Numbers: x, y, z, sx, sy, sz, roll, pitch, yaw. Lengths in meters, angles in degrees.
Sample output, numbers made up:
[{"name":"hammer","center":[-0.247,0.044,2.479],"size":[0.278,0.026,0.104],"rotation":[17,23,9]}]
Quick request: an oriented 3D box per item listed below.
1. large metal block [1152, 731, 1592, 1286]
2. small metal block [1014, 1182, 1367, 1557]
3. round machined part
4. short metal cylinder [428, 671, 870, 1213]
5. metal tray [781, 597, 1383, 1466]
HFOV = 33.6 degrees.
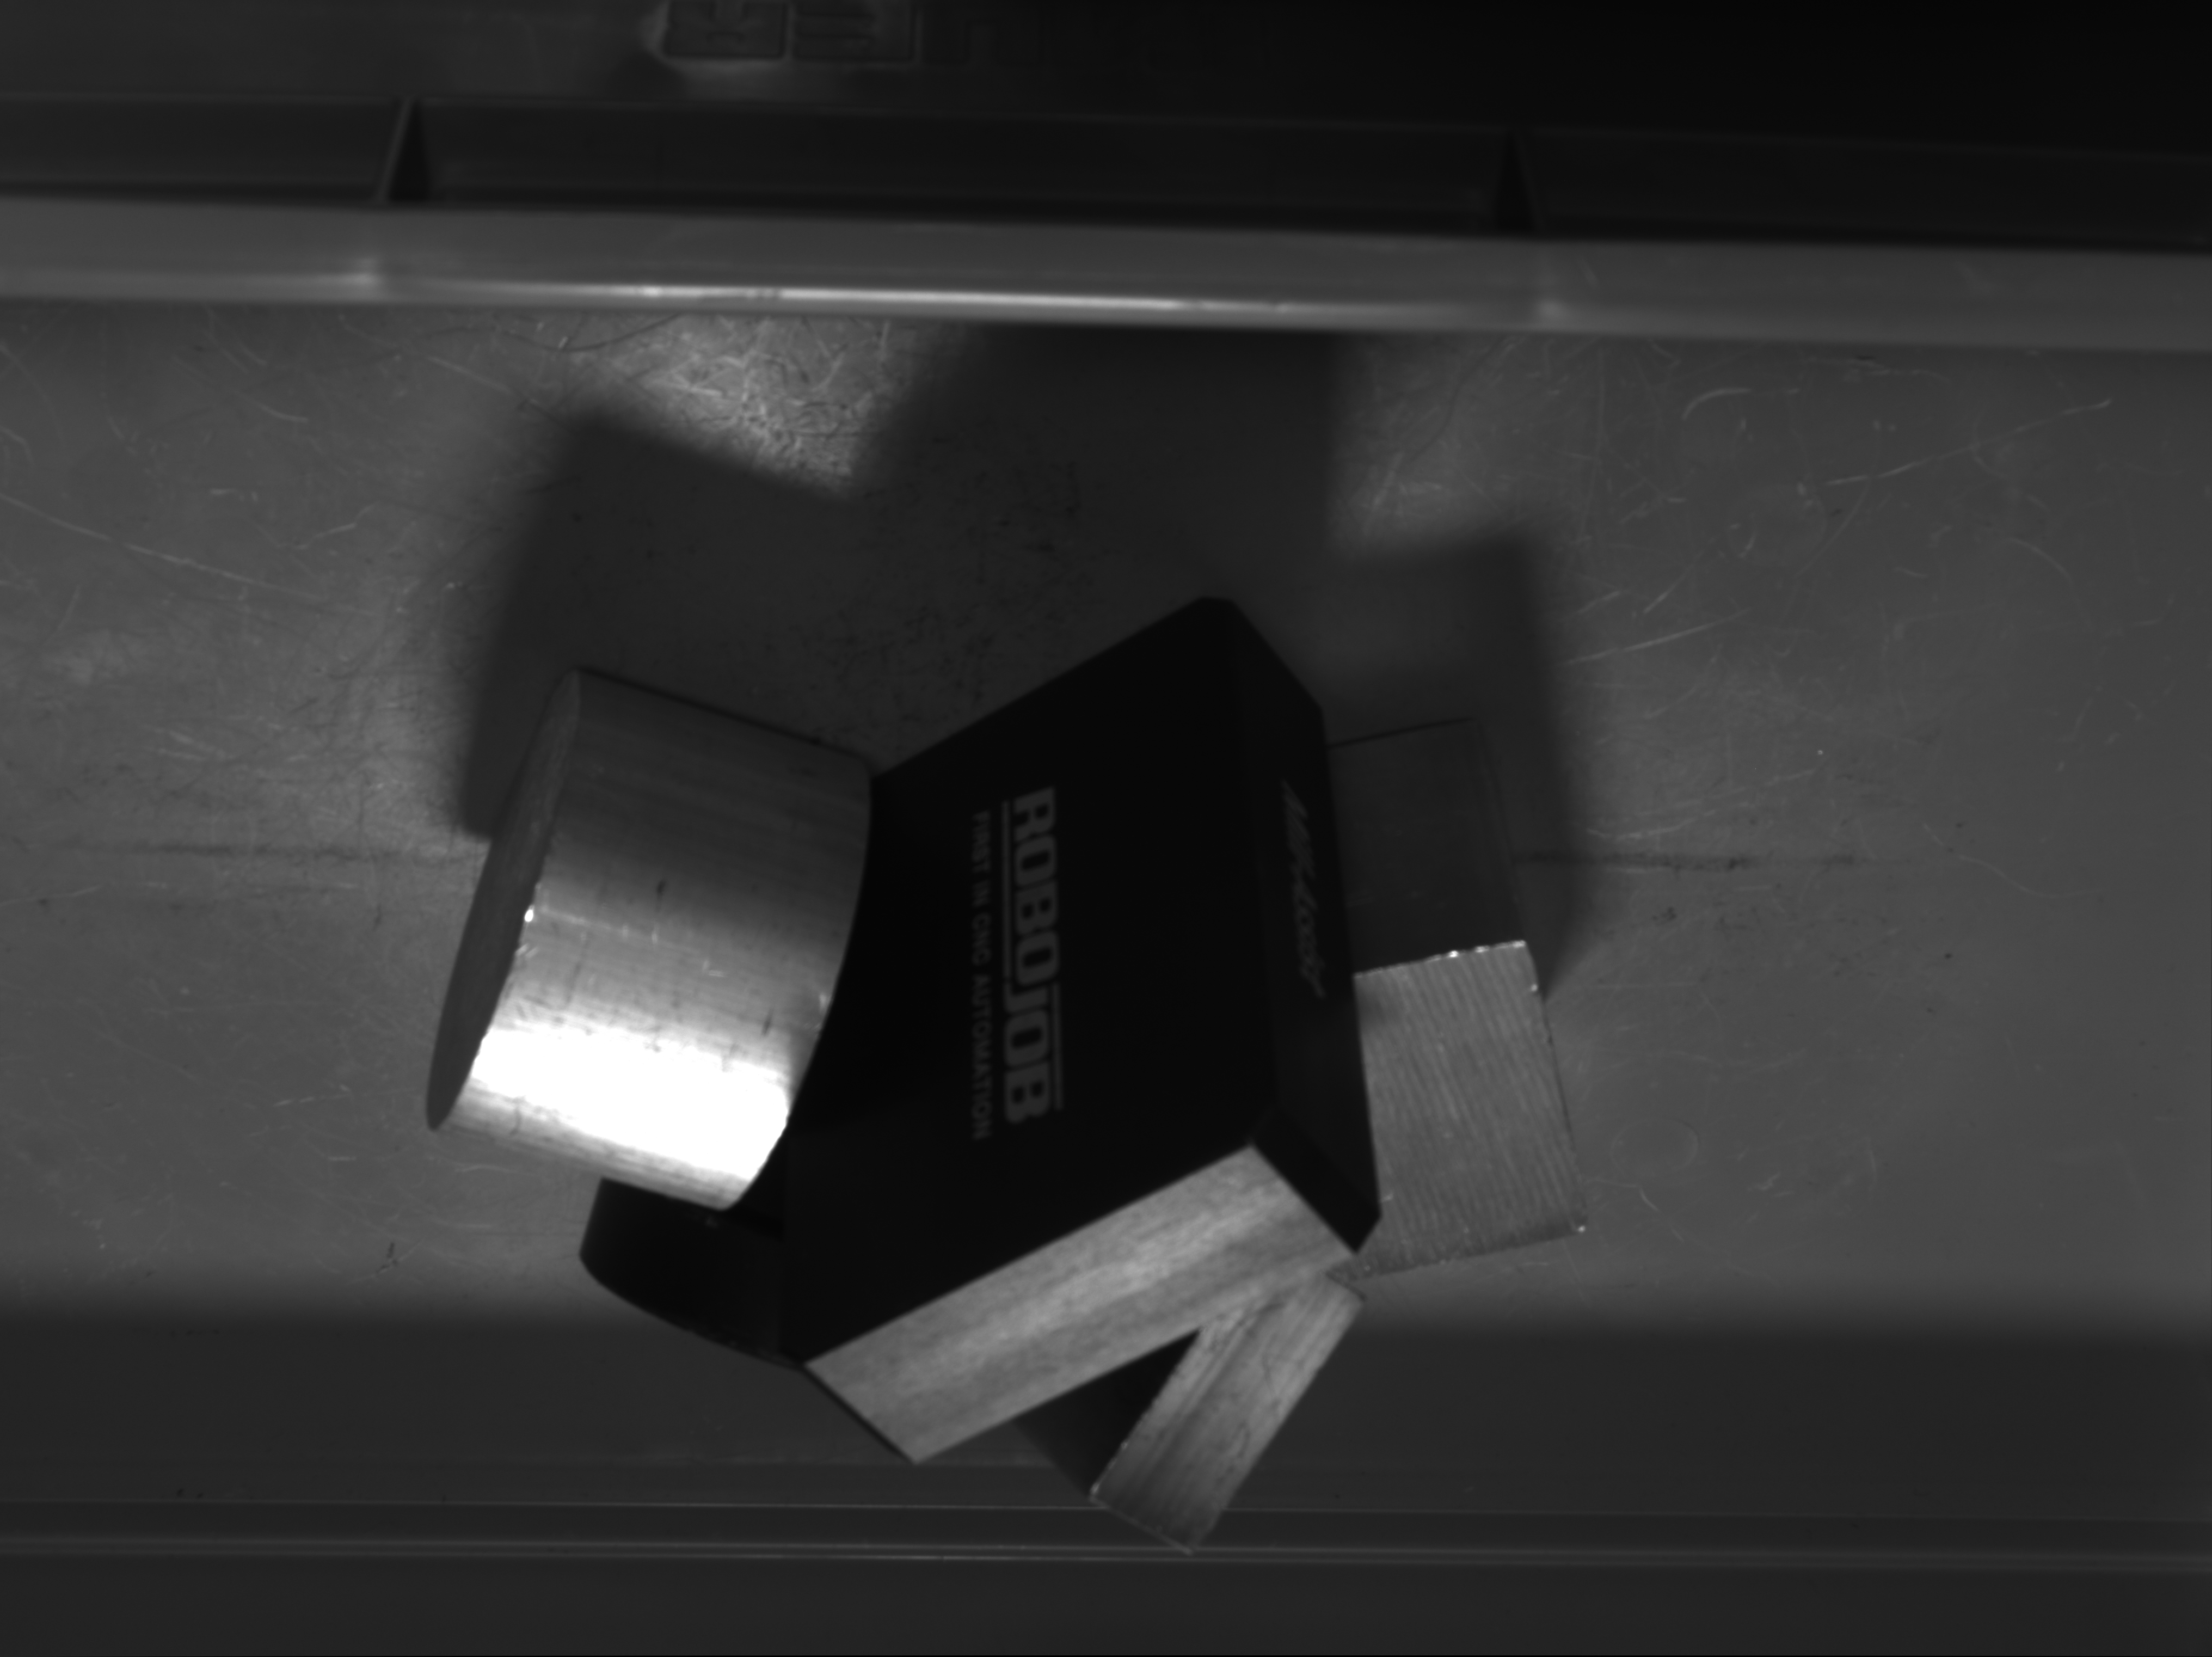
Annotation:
[{"name":"large metal block","center":[0.037,0.036,0.642],"size":[0.080,0.050,0.080],"rotation":[-11,134,7]},{"name":"small metal block","center":[0.008,0.082,0.601],"size":[0.025,0.050,0.050],"rotation":[35,89,-35]},{"name":"round machined part","center":[-0.042,0.070,0.659],"size":[0.098,0.098,0.042],"rotation":[16,92,-15]},{"name":"short metal cylinder","center":[-0.077,0.019,0.614],"size":[0.050,0.080,0.080],"rotation":[18,127,-16]},{"name":"metal tray","center":[-0.006,0.030,0.593],"size":[0.090,0.130,0.030],"rotation":[-28,126,20]}]
